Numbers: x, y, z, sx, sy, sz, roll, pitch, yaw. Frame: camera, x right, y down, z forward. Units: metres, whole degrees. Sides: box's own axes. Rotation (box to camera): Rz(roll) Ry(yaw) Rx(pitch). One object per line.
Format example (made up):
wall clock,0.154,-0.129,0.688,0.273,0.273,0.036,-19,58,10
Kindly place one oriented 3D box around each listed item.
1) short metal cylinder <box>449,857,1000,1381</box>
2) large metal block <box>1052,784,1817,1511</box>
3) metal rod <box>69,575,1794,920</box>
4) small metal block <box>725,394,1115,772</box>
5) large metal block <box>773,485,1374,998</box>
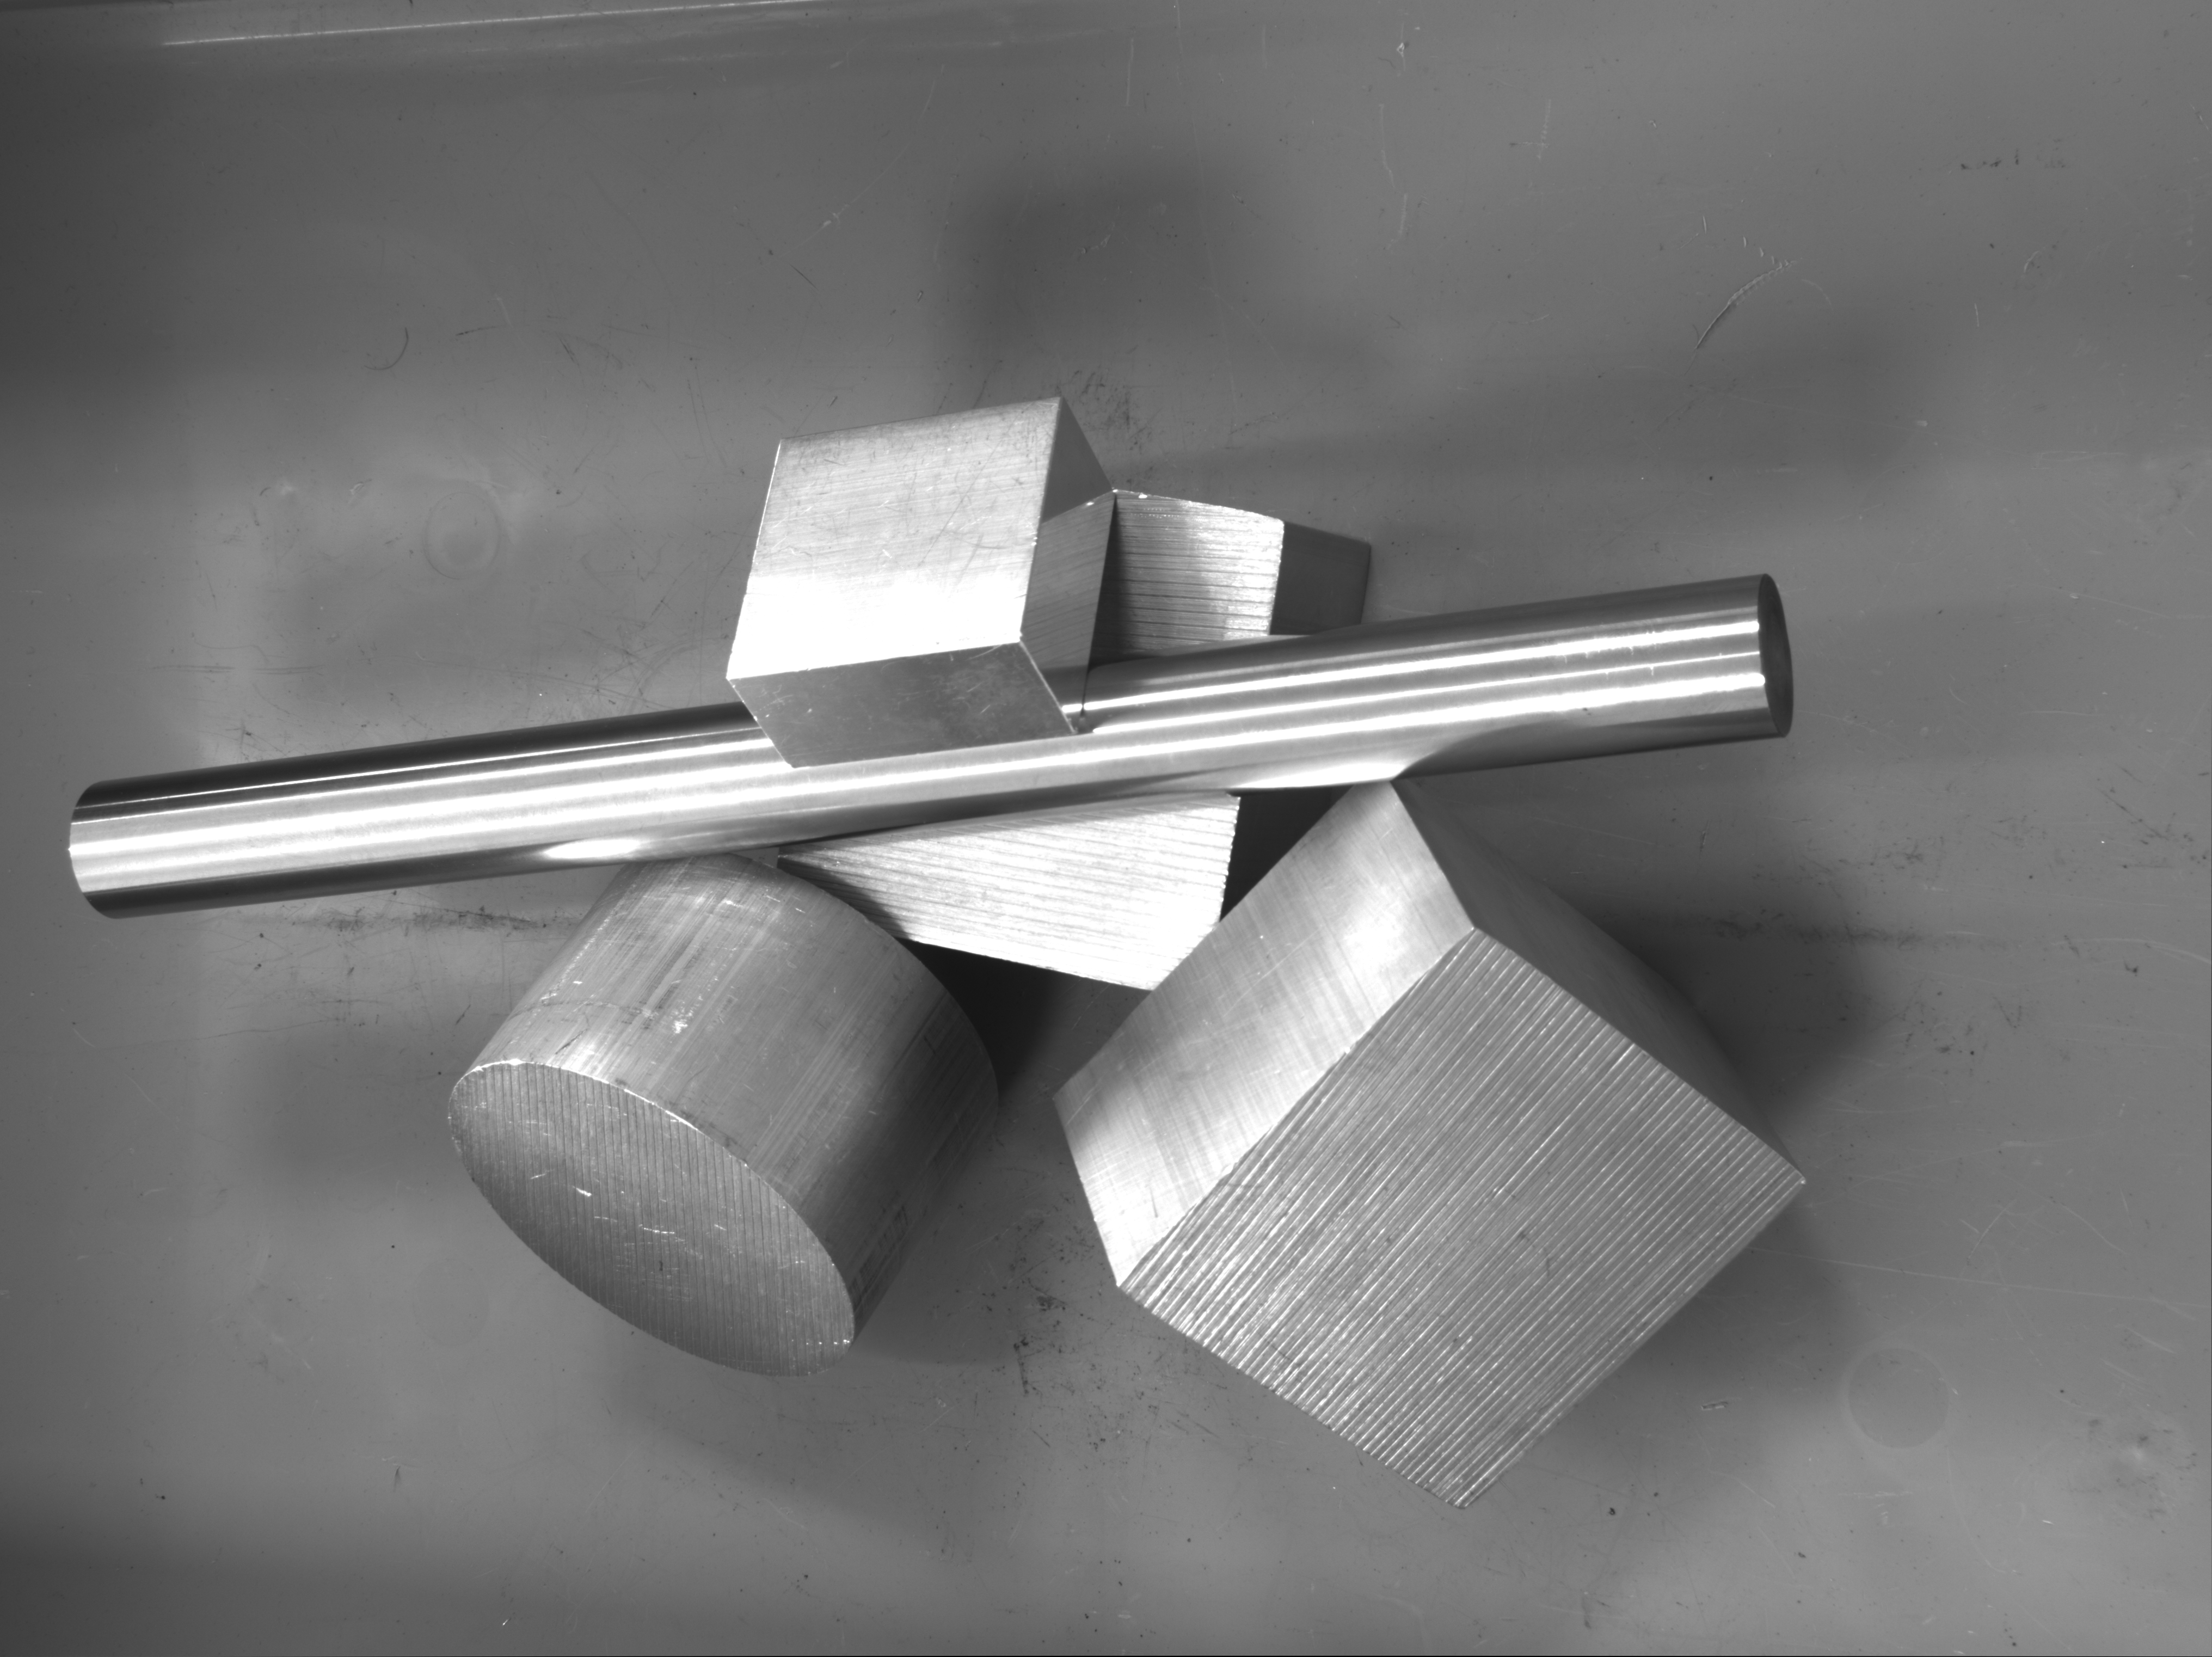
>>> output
short metal cylinder,-0.065,0.050,0.634,0.080,0.080,0.050,21,54,19
large metal block,0.052,0.050,0.591,0.080,0.050,0.080,35,106,-28
metal rod,-0.038,-0.011,0.606,0.299,0.025,0.025,-6,88,20
small metal block,-0.029,-0.039,0.590,0.050,0.025,0.050,-6,53,20
large metal block,-0.006,-0.019,0.634,0.080,0.050,0.080,11,94,20
